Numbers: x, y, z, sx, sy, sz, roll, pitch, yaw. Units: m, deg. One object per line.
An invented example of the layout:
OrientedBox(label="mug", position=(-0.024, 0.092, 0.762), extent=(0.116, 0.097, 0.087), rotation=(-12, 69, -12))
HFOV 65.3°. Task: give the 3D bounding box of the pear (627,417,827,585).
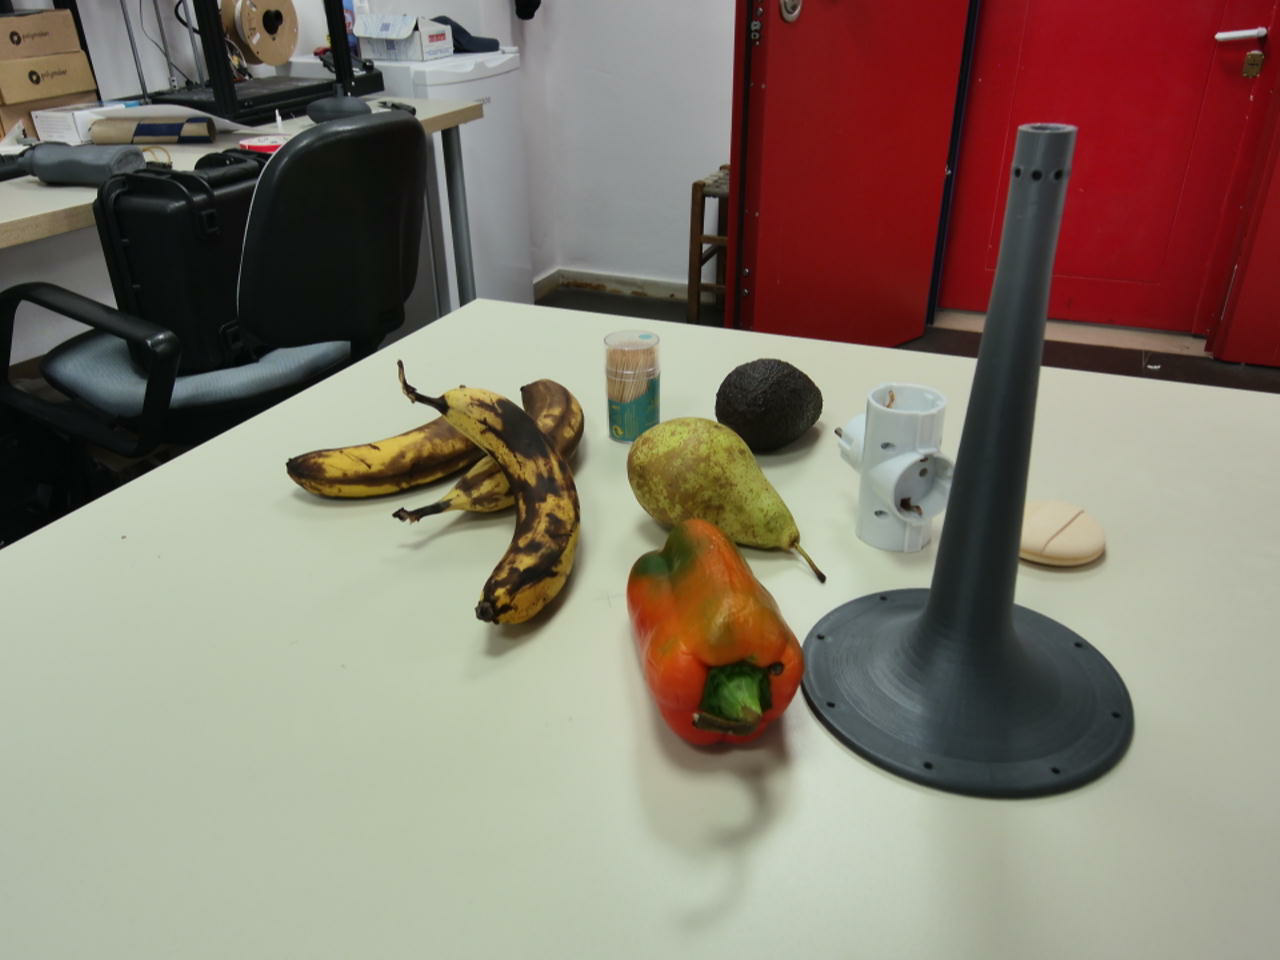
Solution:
OrientedBox(label="pear", position=(0.054, 0.002, 0.599), extent=(0.128, 0.075, 0.071), rotation=(8, 26, 14))
